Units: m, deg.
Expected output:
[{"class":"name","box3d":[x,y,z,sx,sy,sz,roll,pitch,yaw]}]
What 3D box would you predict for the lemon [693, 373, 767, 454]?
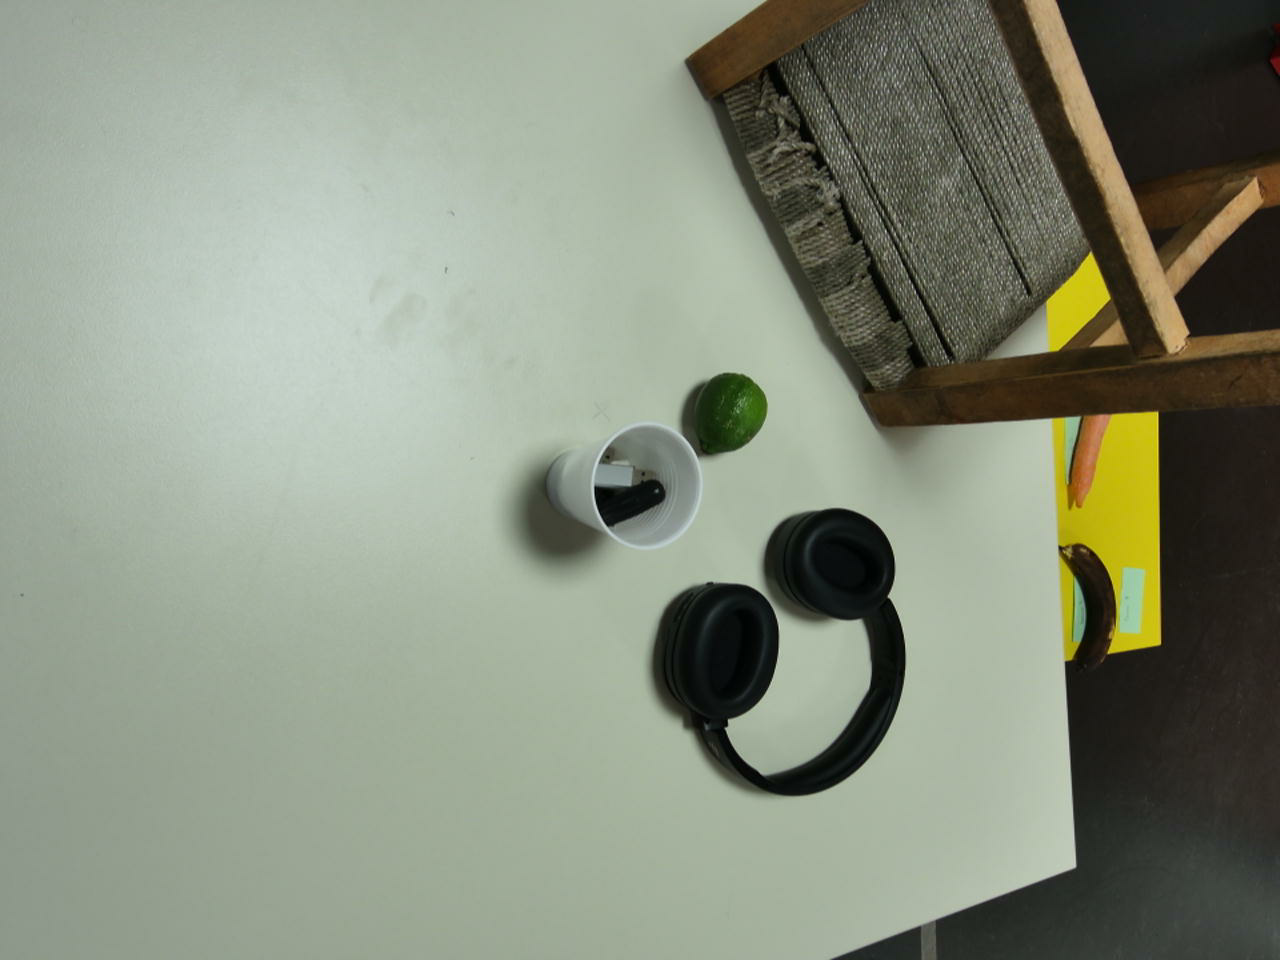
[{"class":"lemon","box3d":[0.065,-0.049,0.722,0.054,0.051,0.057,-10,95,-28]}]
